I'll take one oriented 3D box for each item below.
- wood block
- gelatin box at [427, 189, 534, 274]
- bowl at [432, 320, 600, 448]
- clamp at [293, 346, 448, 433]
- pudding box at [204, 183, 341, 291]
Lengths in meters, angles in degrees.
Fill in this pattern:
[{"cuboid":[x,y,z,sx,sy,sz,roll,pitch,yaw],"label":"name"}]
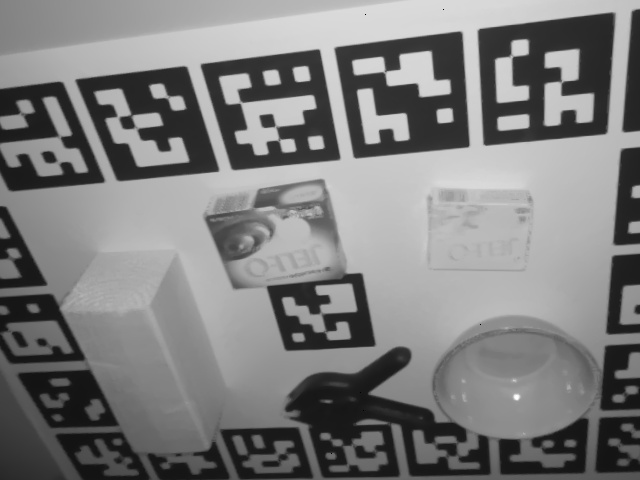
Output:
[{"cuboid":[-0.180,0.121,0.716,0.089,0.092,0.205,-2,122,11],"label":"wood block"},{"cuboid":[0.143,-0.007,0.627,0.089,0.030,0.072,2,121,6],"label":"gelatin box"},{"cuboid":[0.196,0.136,0.708,0.161,0.056,0.160,4,121,7],"label":"bowl"},{"cuboid":[0.047,0.177,0.766,0.164,0.037,0.121,-13,120,18],"label":"clamp"},{"cuboid":[-0.041,-0.002,0.651,0.113,0.039,0.089,-6,118,9],"label":"pudding box"}]
